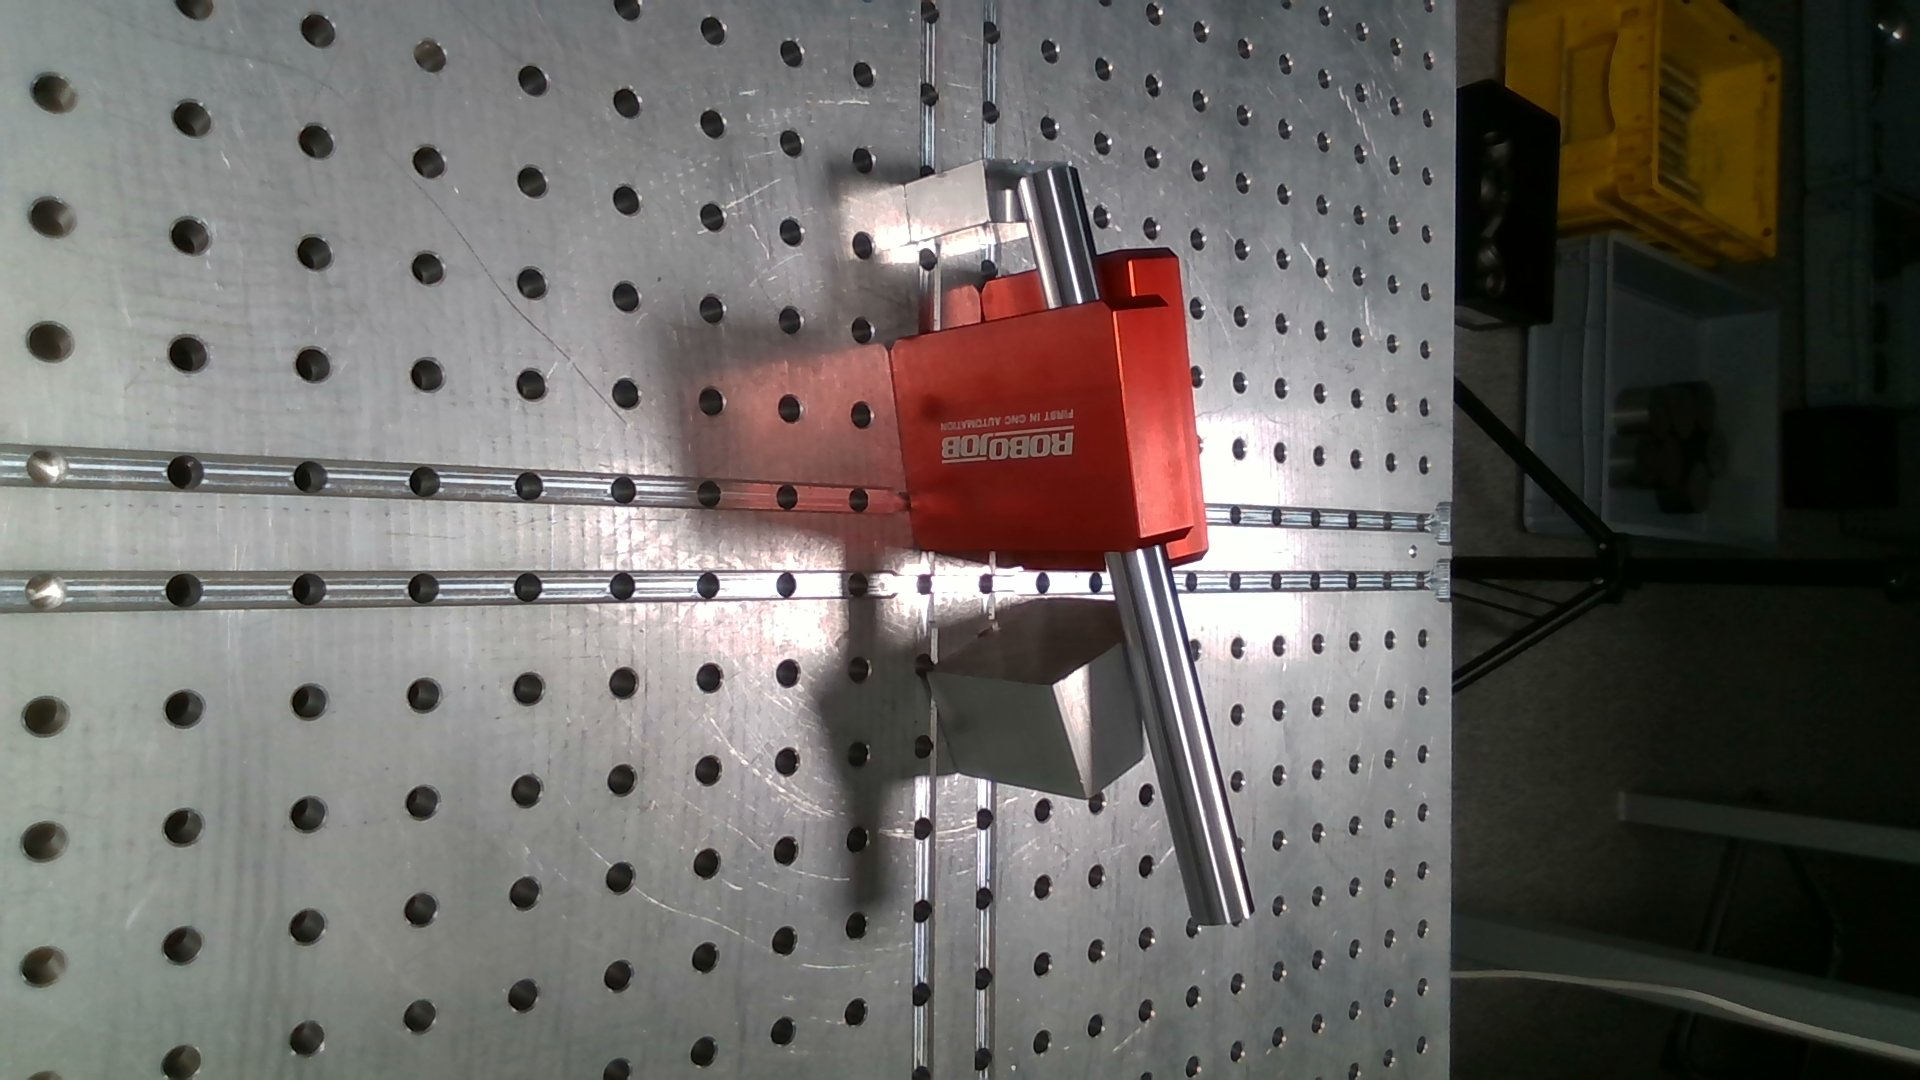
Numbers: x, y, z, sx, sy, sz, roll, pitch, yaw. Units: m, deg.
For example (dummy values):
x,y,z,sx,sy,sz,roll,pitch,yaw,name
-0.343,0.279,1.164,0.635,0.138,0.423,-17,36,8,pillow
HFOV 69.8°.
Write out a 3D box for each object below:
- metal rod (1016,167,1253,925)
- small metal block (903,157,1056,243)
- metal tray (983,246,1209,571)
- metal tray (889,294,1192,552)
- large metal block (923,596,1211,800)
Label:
x,y,z,sx,sy,sz,roll,pitch,yaw,name
0.069,0.002,0.546,0.025,0.025,0.300,-12,89,-40,metal rod
0.012,-0.142,0.580,0.050,0.050,0.025,-11,97,-40,small metal block
0.057,-0.053,0.590,0.030,0.090,0.130,-12,98,-39,metal tray
0.028,-0.043,0.541,0.030,0.130,0.090,-13,98,-39,metal tray
0.046,0.064,0.588,0.080,0.080,0.050,-29,108,-37,large metal block
